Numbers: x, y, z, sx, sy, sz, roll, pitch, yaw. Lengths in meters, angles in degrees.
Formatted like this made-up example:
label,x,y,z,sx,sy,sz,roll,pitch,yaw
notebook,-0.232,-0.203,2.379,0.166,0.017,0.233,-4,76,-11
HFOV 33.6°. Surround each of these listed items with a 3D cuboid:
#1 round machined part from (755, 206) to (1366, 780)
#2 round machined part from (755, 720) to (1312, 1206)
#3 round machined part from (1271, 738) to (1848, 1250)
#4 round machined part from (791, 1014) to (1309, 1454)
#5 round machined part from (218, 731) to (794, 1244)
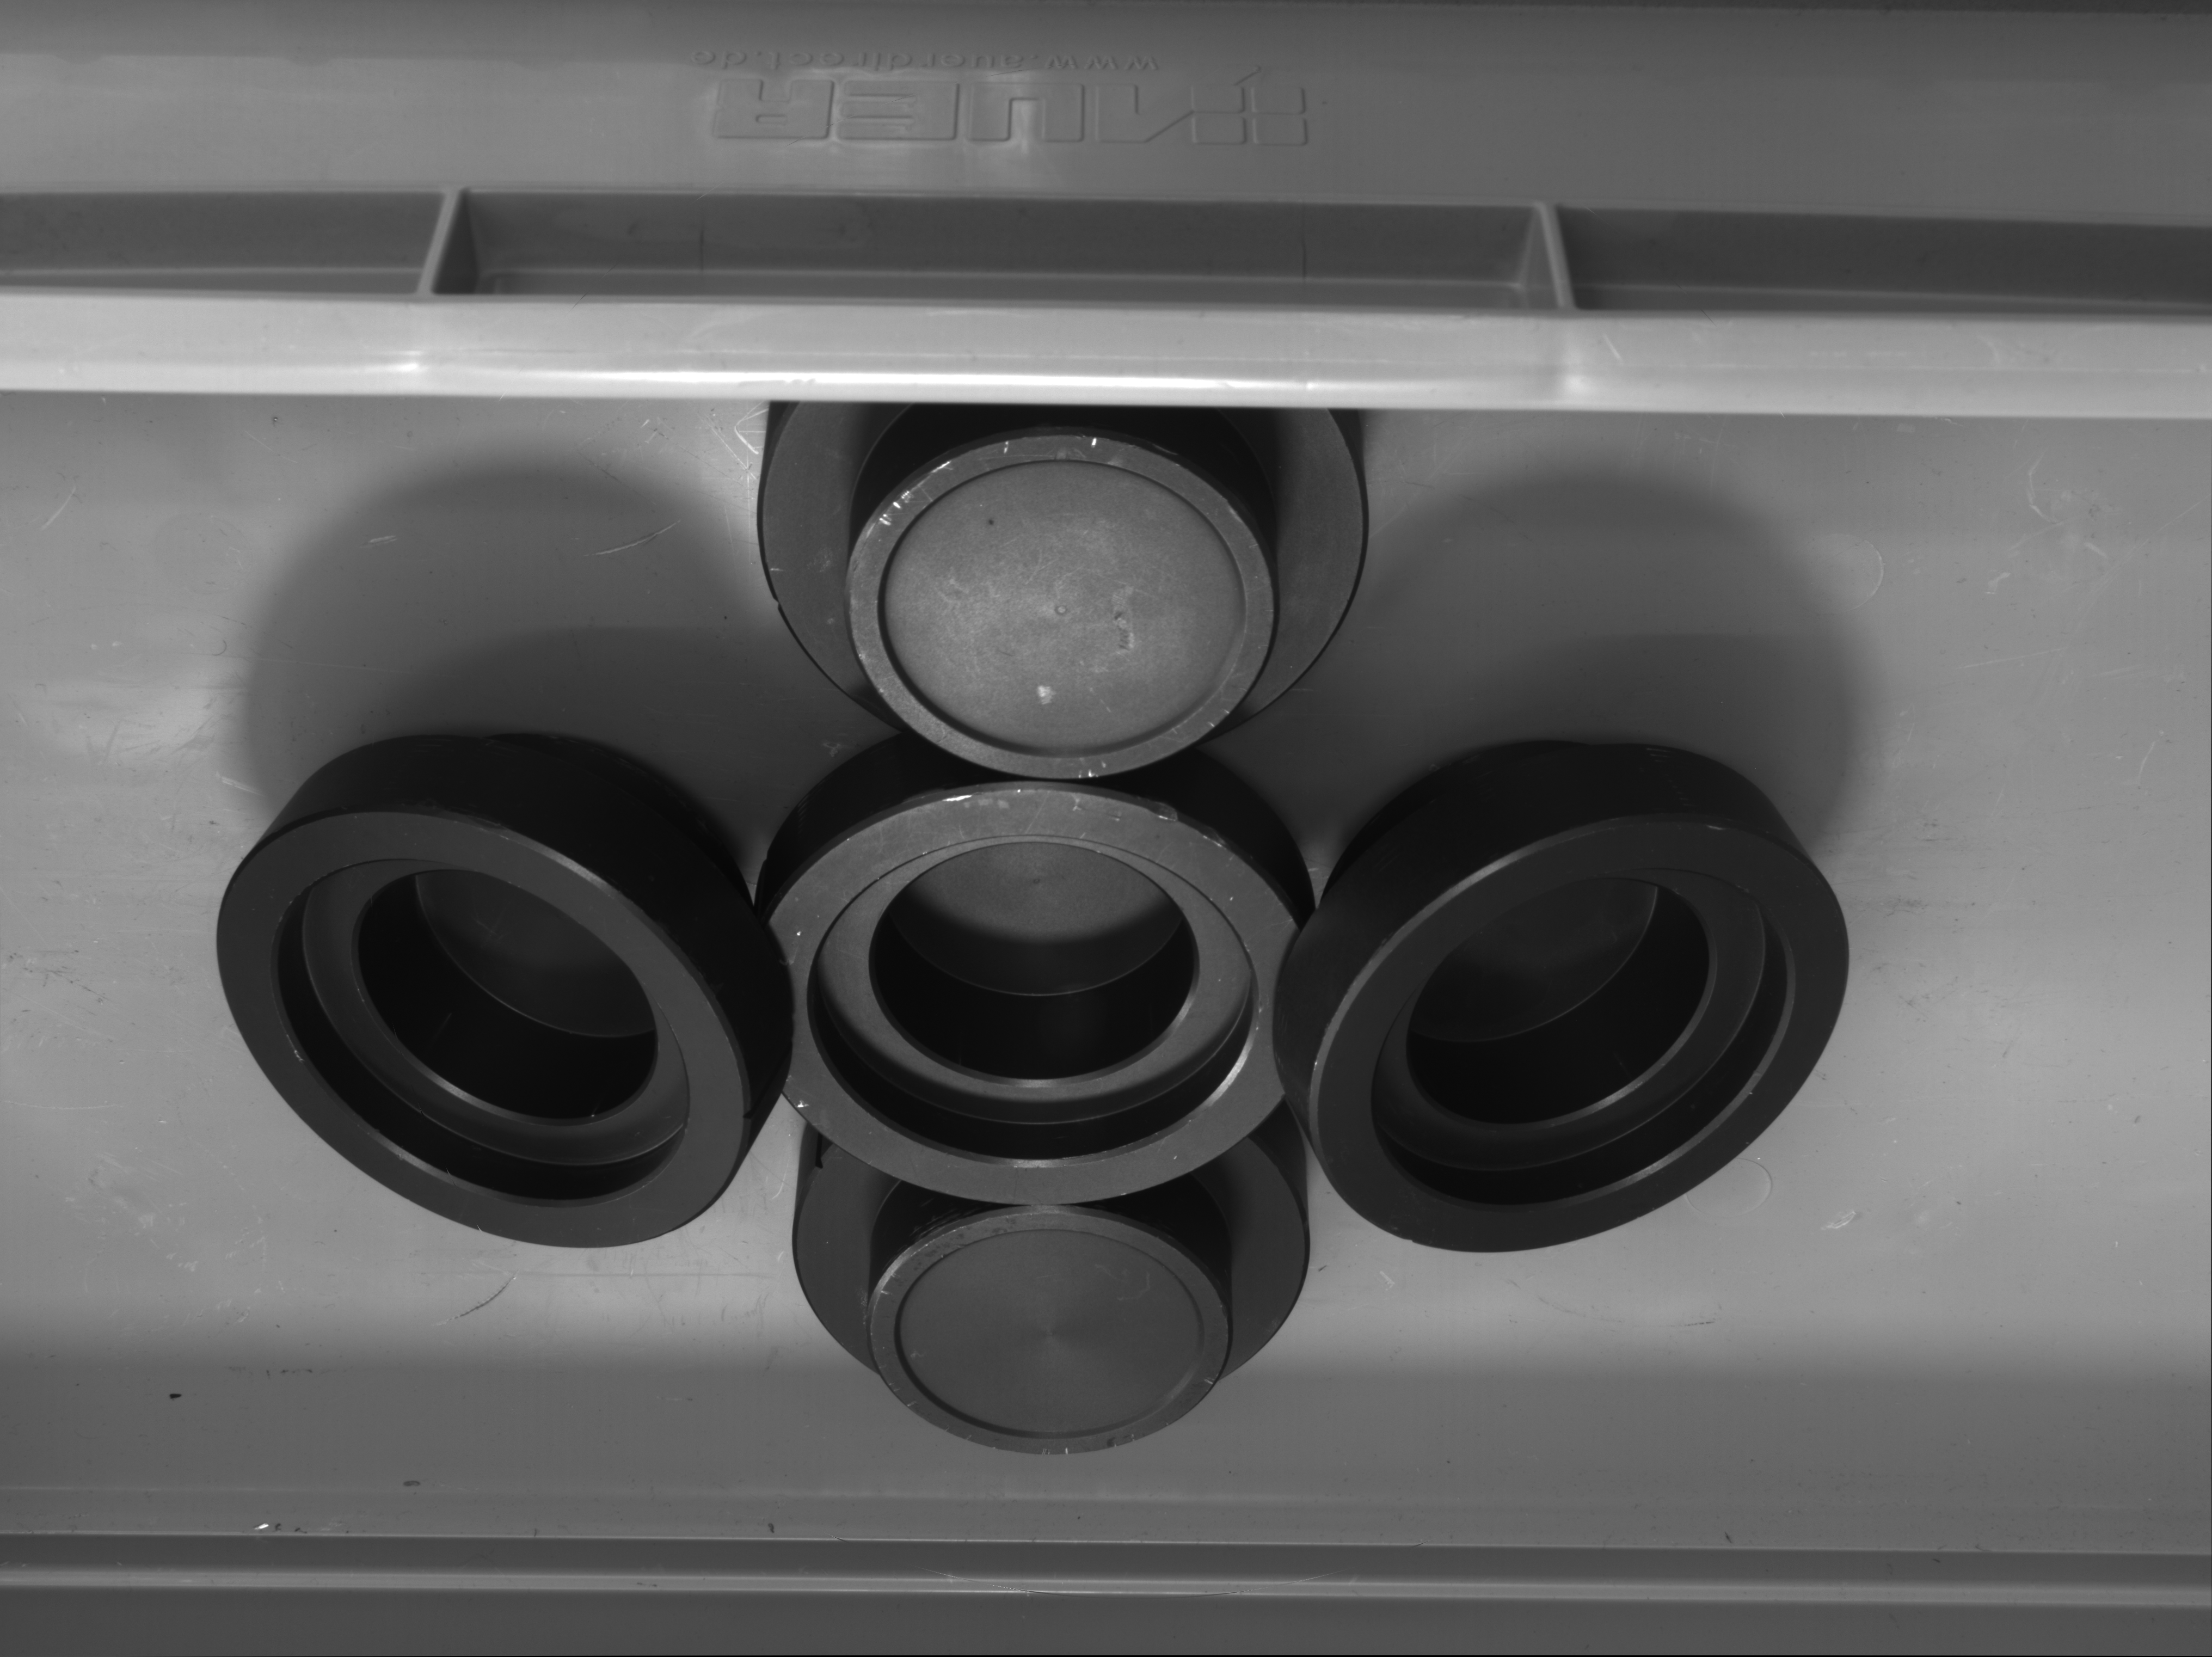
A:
label,x,y,z,sx,sy,sz,roll,pitch,yaw
round machined part,-0.007,-0.047,0.587,0.098,0.042,0.098,0,130,0
round machined part,-0.012,0.017,0.640,0.098,0.042,0.098,0,130,0
round machined part,0.075,0.024,0.636,0.098,0.042,0.098,-11,131,-12
round machined part,-0.011,0.081,0.694,0.098,0.042,0.098,0,130,0
round machined part,-0.099,0.022,0.634,0.098,0.042,0.098,11,131,13
